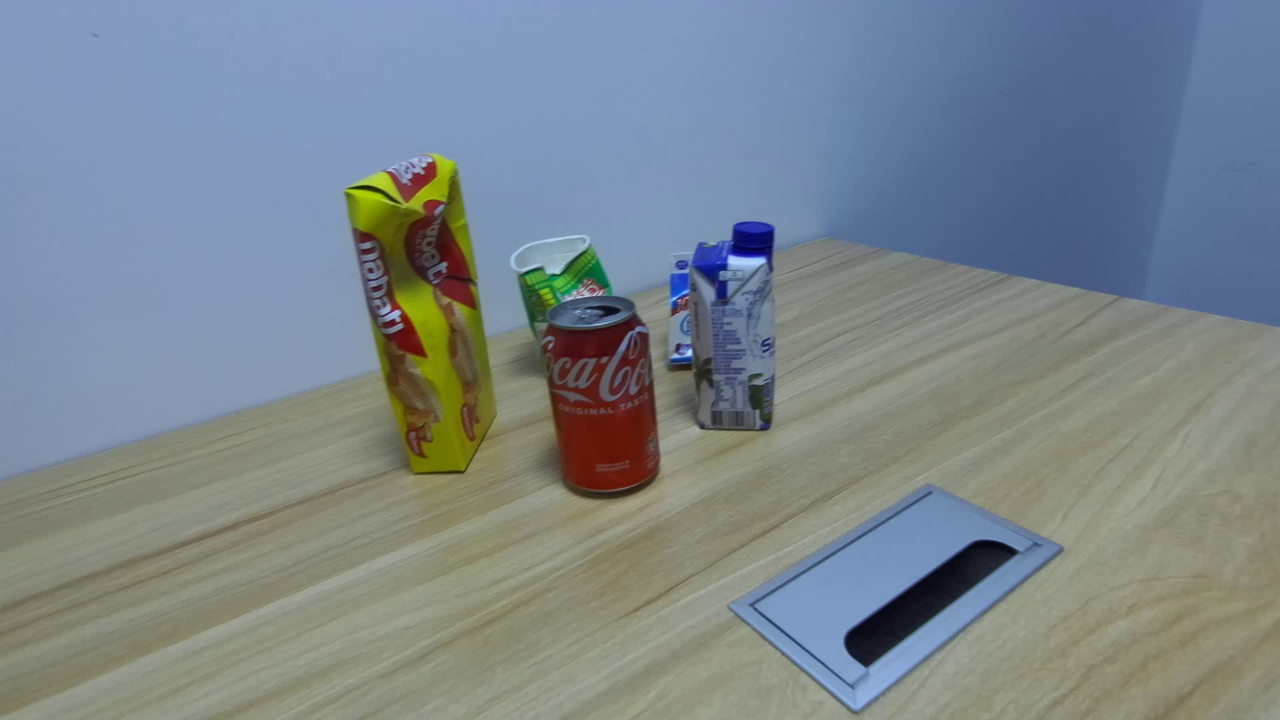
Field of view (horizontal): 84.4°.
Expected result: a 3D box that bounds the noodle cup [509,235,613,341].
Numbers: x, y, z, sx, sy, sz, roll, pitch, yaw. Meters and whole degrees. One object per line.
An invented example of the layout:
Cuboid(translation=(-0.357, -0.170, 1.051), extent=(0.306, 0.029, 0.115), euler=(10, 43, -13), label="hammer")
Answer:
Cuboid(translation=(-0.059, -0.045, 0.616), extent=(0.083, 0.122, 0.075), euler=(-25, 20, -18), label="noodle cup")

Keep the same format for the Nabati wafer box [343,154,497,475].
Cuboid(translation=(-0.145, -0.030, 0.484), extent=(0.042, 0.204, 0.107), euler=(-2, 24, 6), label="Nabati wafer box")

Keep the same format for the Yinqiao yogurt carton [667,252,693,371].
Cuboid(translation=(0.063, -0.050, 0.657), extent=(0.077, 0.094, 0.071), euler=(-2, 14, 0), label="Yinqiao yogurt carton")

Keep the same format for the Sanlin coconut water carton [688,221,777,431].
Cuboid(translation=(0.066, -0.024, 0.499), extent=(0.060, 0.144, 0.060), euler=(-2, 25, 10), label="Sanlin coconut water carton")

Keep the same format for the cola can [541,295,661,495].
Cuboid(translation=(-0.024, 0.021, 0.448), extent=(0.068, 0.120, 0.068), euler=(-4, 23, 2), label="cola can")
